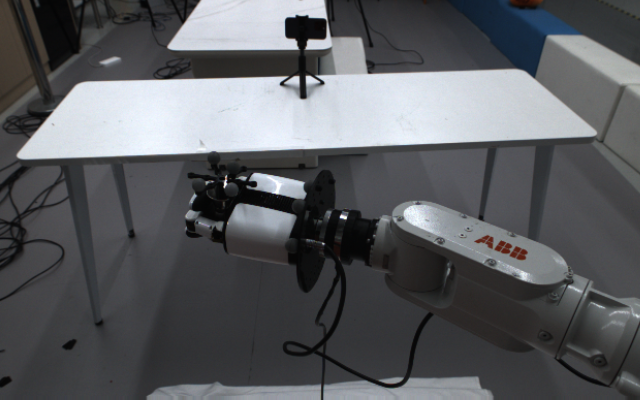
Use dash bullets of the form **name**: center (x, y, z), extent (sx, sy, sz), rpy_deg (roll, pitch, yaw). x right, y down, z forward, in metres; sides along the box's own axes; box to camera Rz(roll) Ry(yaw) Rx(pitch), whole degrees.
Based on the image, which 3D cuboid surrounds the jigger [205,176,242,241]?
- **jigger**: center (-0.128, 0.018, 0.646), extent (0.043, 0.071, 0.043), rpy_deg (6, 32, -4)
